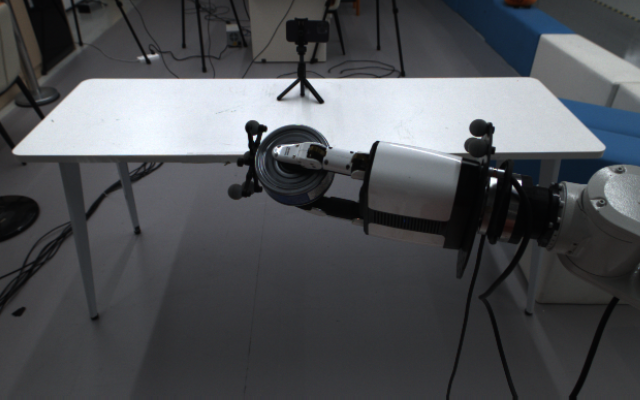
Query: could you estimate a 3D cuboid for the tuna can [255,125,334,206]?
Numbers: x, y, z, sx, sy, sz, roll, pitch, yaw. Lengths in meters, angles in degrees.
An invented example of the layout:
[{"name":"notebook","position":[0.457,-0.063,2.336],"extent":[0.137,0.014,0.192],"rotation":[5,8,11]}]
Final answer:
[{"name":"tuna can","position":[-0.024,-0.036,0.528],"extent":[0.085,0.034,0.085],"rotation":[-2,69,6]}]
